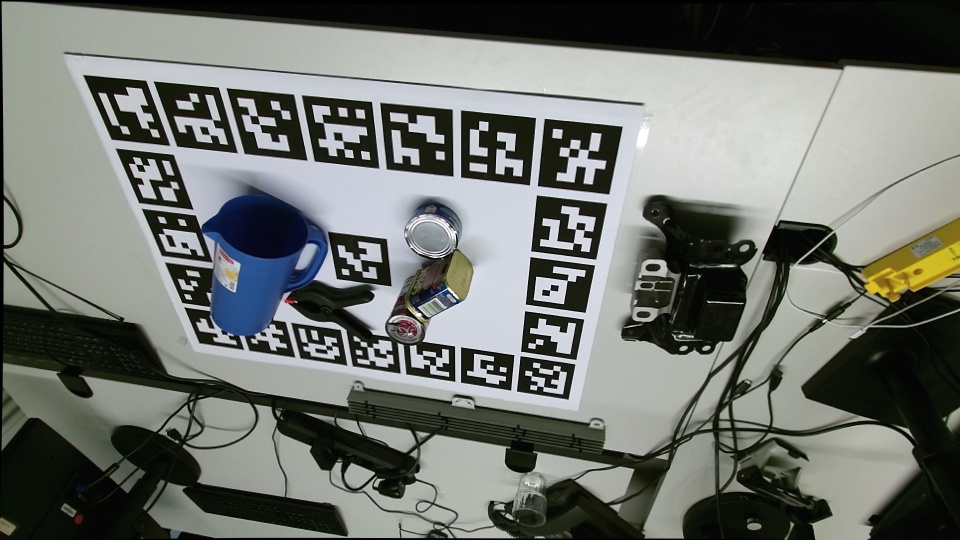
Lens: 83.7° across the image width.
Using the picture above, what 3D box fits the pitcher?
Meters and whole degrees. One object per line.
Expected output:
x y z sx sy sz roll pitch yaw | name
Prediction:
-0.370 -0.002 0.889 0.190 0.132 0.243 10 138 -23 | pitcher

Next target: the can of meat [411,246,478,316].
-0.055 0.015 0.855 0.084 0.101 0.058 -27 115 23 | can of meat

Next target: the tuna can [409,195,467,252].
-0.064 -0.074 0.838 0.086 0.033 0.086 5 124 8 | tuna can

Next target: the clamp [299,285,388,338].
-0.252 0.066 0.990 0.165 0.036 0.122 11 131 8 | clamp

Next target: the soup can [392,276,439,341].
-0.102 0.062 0.905 0.068 0.101 0.068 4 124 6 | soup can
